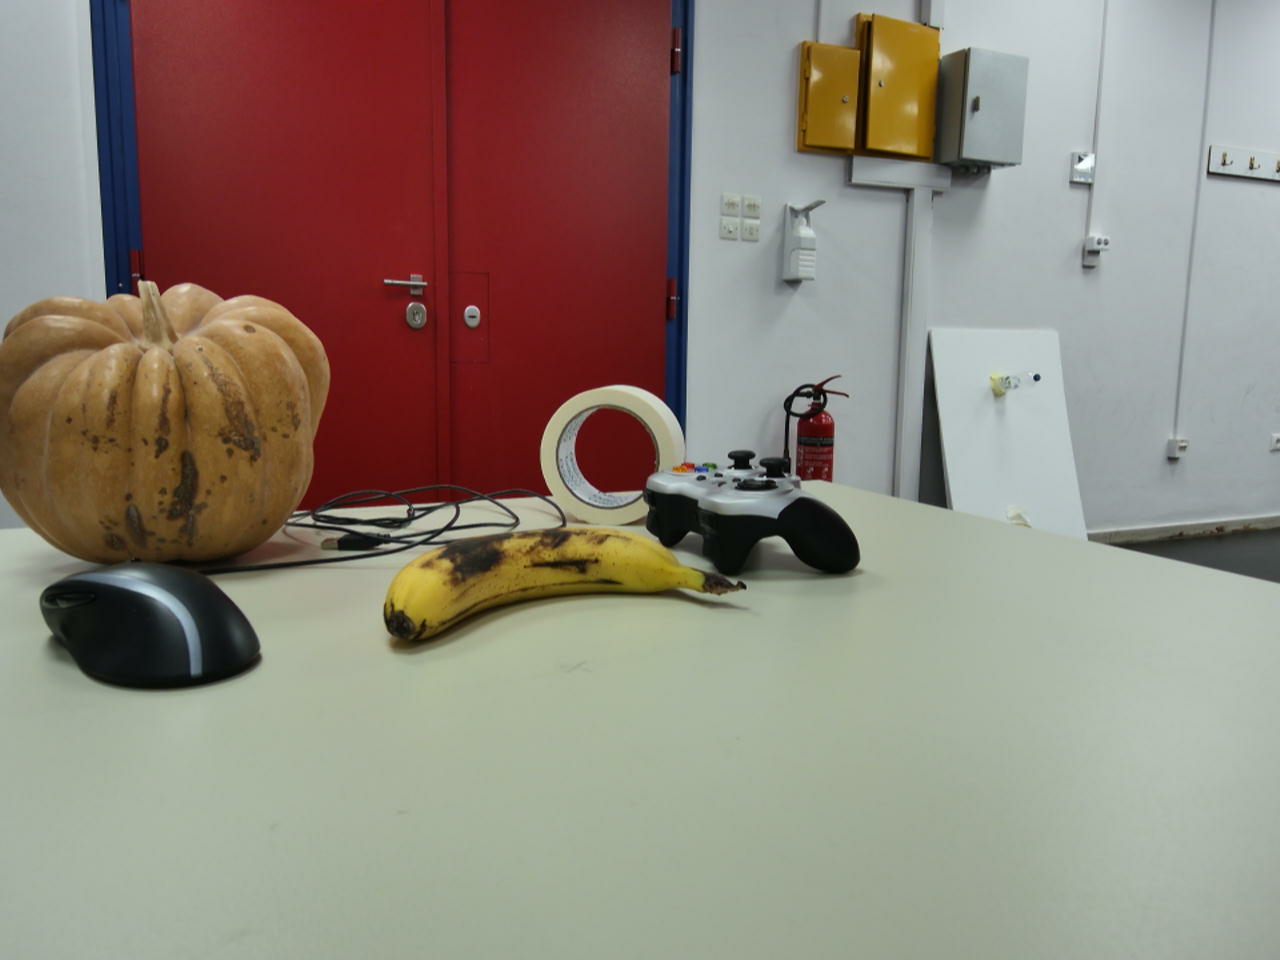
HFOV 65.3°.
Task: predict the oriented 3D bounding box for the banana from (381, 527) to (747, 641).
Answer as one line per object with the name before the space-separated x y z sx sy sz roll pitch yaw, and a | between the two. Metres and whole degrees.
banana | -0.050 0.051 0.526 0.187 0.039 0.094 -3 7 -27
